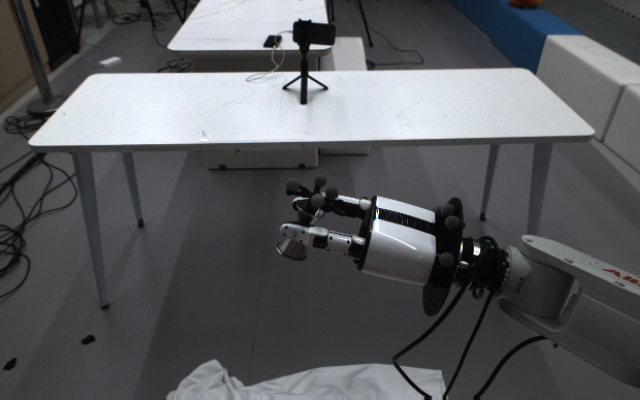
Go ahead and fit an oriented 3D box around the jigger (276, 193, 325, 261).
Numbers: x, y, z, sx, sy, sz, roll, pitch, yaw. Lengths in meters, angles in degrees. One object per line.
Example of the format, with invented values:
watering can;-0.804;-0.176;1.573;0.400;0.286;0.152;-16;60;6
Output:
jigger;-0.026;0.040;0.636;0.043;0.071;0.043;23;19;-8
